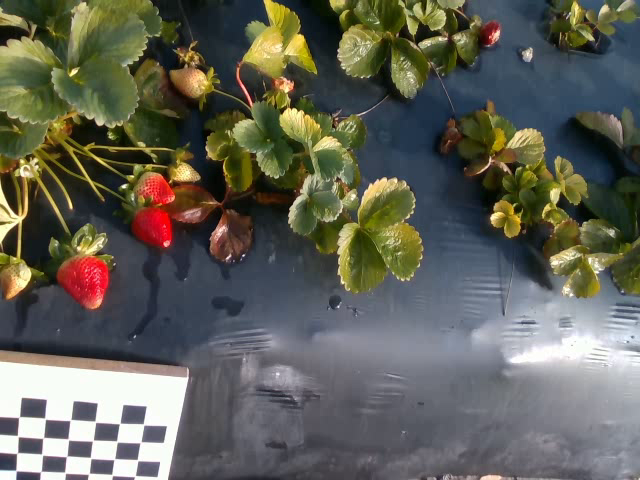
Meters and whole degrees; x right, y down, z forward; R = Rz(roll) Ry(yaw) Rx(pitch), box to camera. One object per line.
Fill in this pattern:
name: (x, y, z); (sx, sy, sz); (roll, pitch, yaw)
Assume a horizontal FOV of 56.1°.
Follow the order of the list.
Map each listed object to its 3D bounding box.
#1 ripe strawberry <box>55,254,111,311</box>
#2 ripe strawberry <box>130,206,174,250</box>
ripe strawberry: (-0.233, 0.044, 0.588); (0.050, 0.065, 0.050); (-27, -30, 3)
ripe strawberry: (-0.174, -0.009, 0.621); (0.055, 0.045, 0.041); (47, 14, 28)
